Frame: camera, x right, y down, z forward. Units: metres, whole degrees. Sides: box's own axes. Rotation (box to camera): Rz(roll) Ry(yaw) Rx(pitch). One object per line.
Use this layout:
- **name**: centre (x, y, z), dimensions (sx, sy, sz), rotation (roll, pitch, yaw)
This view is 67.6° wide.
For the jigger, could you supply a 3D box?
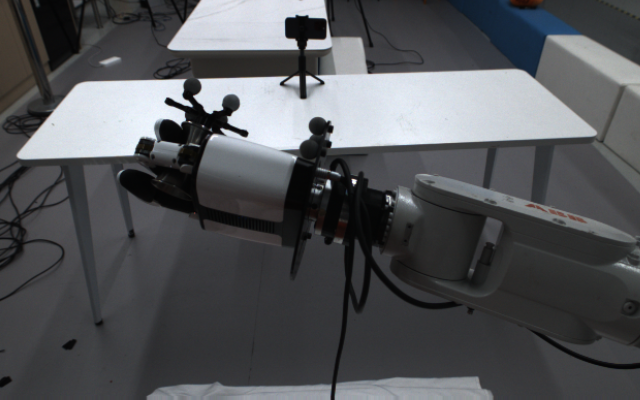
- **jigger**: centre (-0.131, -0.040, 0.479), dimensions (0.043, 0.043, 0.071), rotation (15, 70, 18)
